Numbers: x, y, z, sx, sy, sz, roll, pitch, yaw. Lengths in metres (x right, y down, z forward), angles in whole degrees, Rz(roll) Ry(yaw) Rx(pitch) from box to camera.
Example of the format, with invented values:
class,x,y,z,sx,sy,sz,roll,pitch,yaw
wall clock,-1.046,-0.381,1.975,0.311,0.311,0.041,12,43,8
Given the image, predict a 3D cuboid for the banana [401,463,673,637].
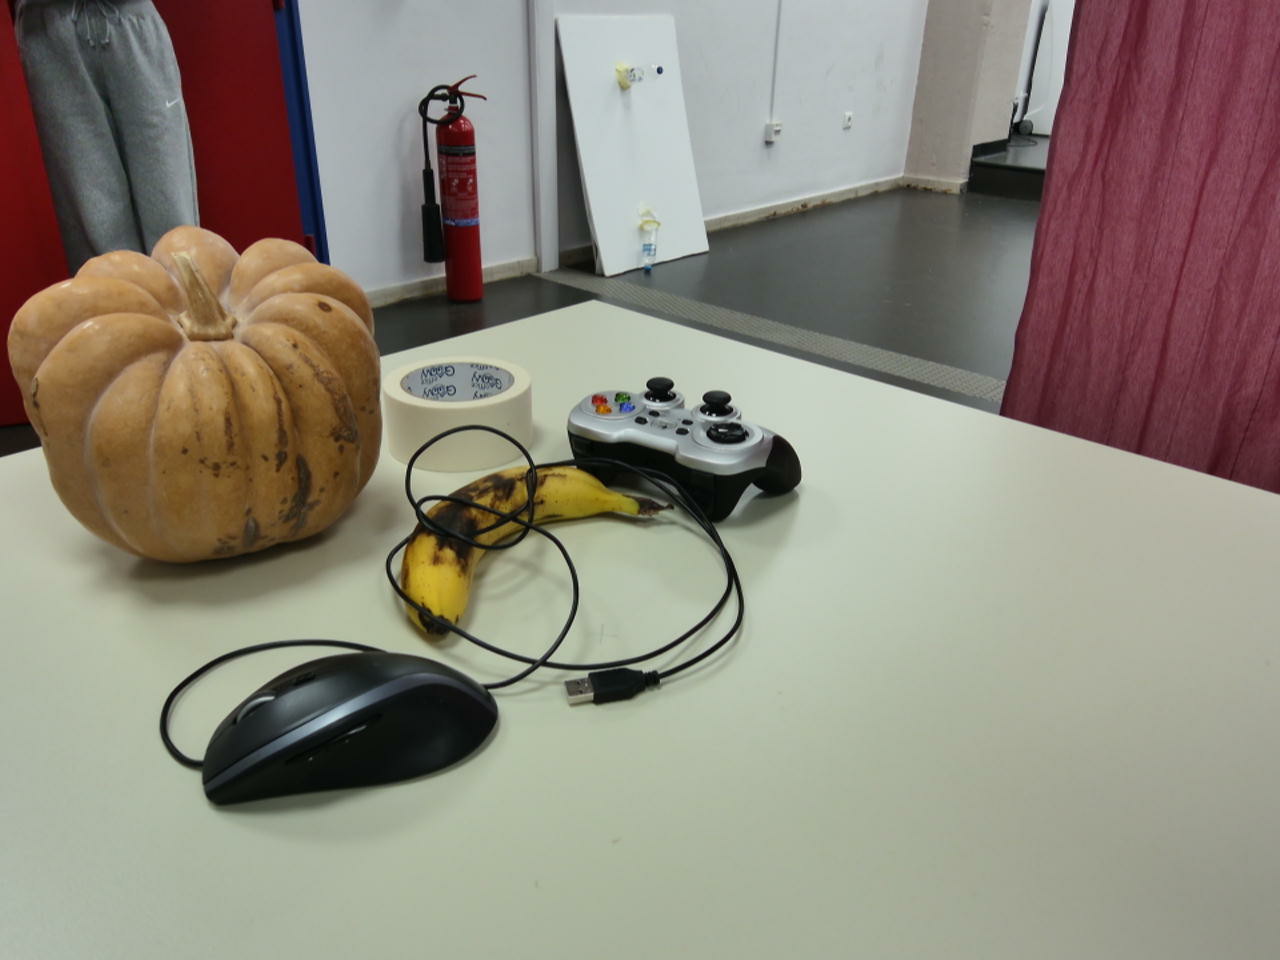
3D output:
class,x,y,z,sx,sy,sz,roll,pitch,yaw
banana,-0.076,0.028,0.586,0.094,0.039,0.187,21,31,35
